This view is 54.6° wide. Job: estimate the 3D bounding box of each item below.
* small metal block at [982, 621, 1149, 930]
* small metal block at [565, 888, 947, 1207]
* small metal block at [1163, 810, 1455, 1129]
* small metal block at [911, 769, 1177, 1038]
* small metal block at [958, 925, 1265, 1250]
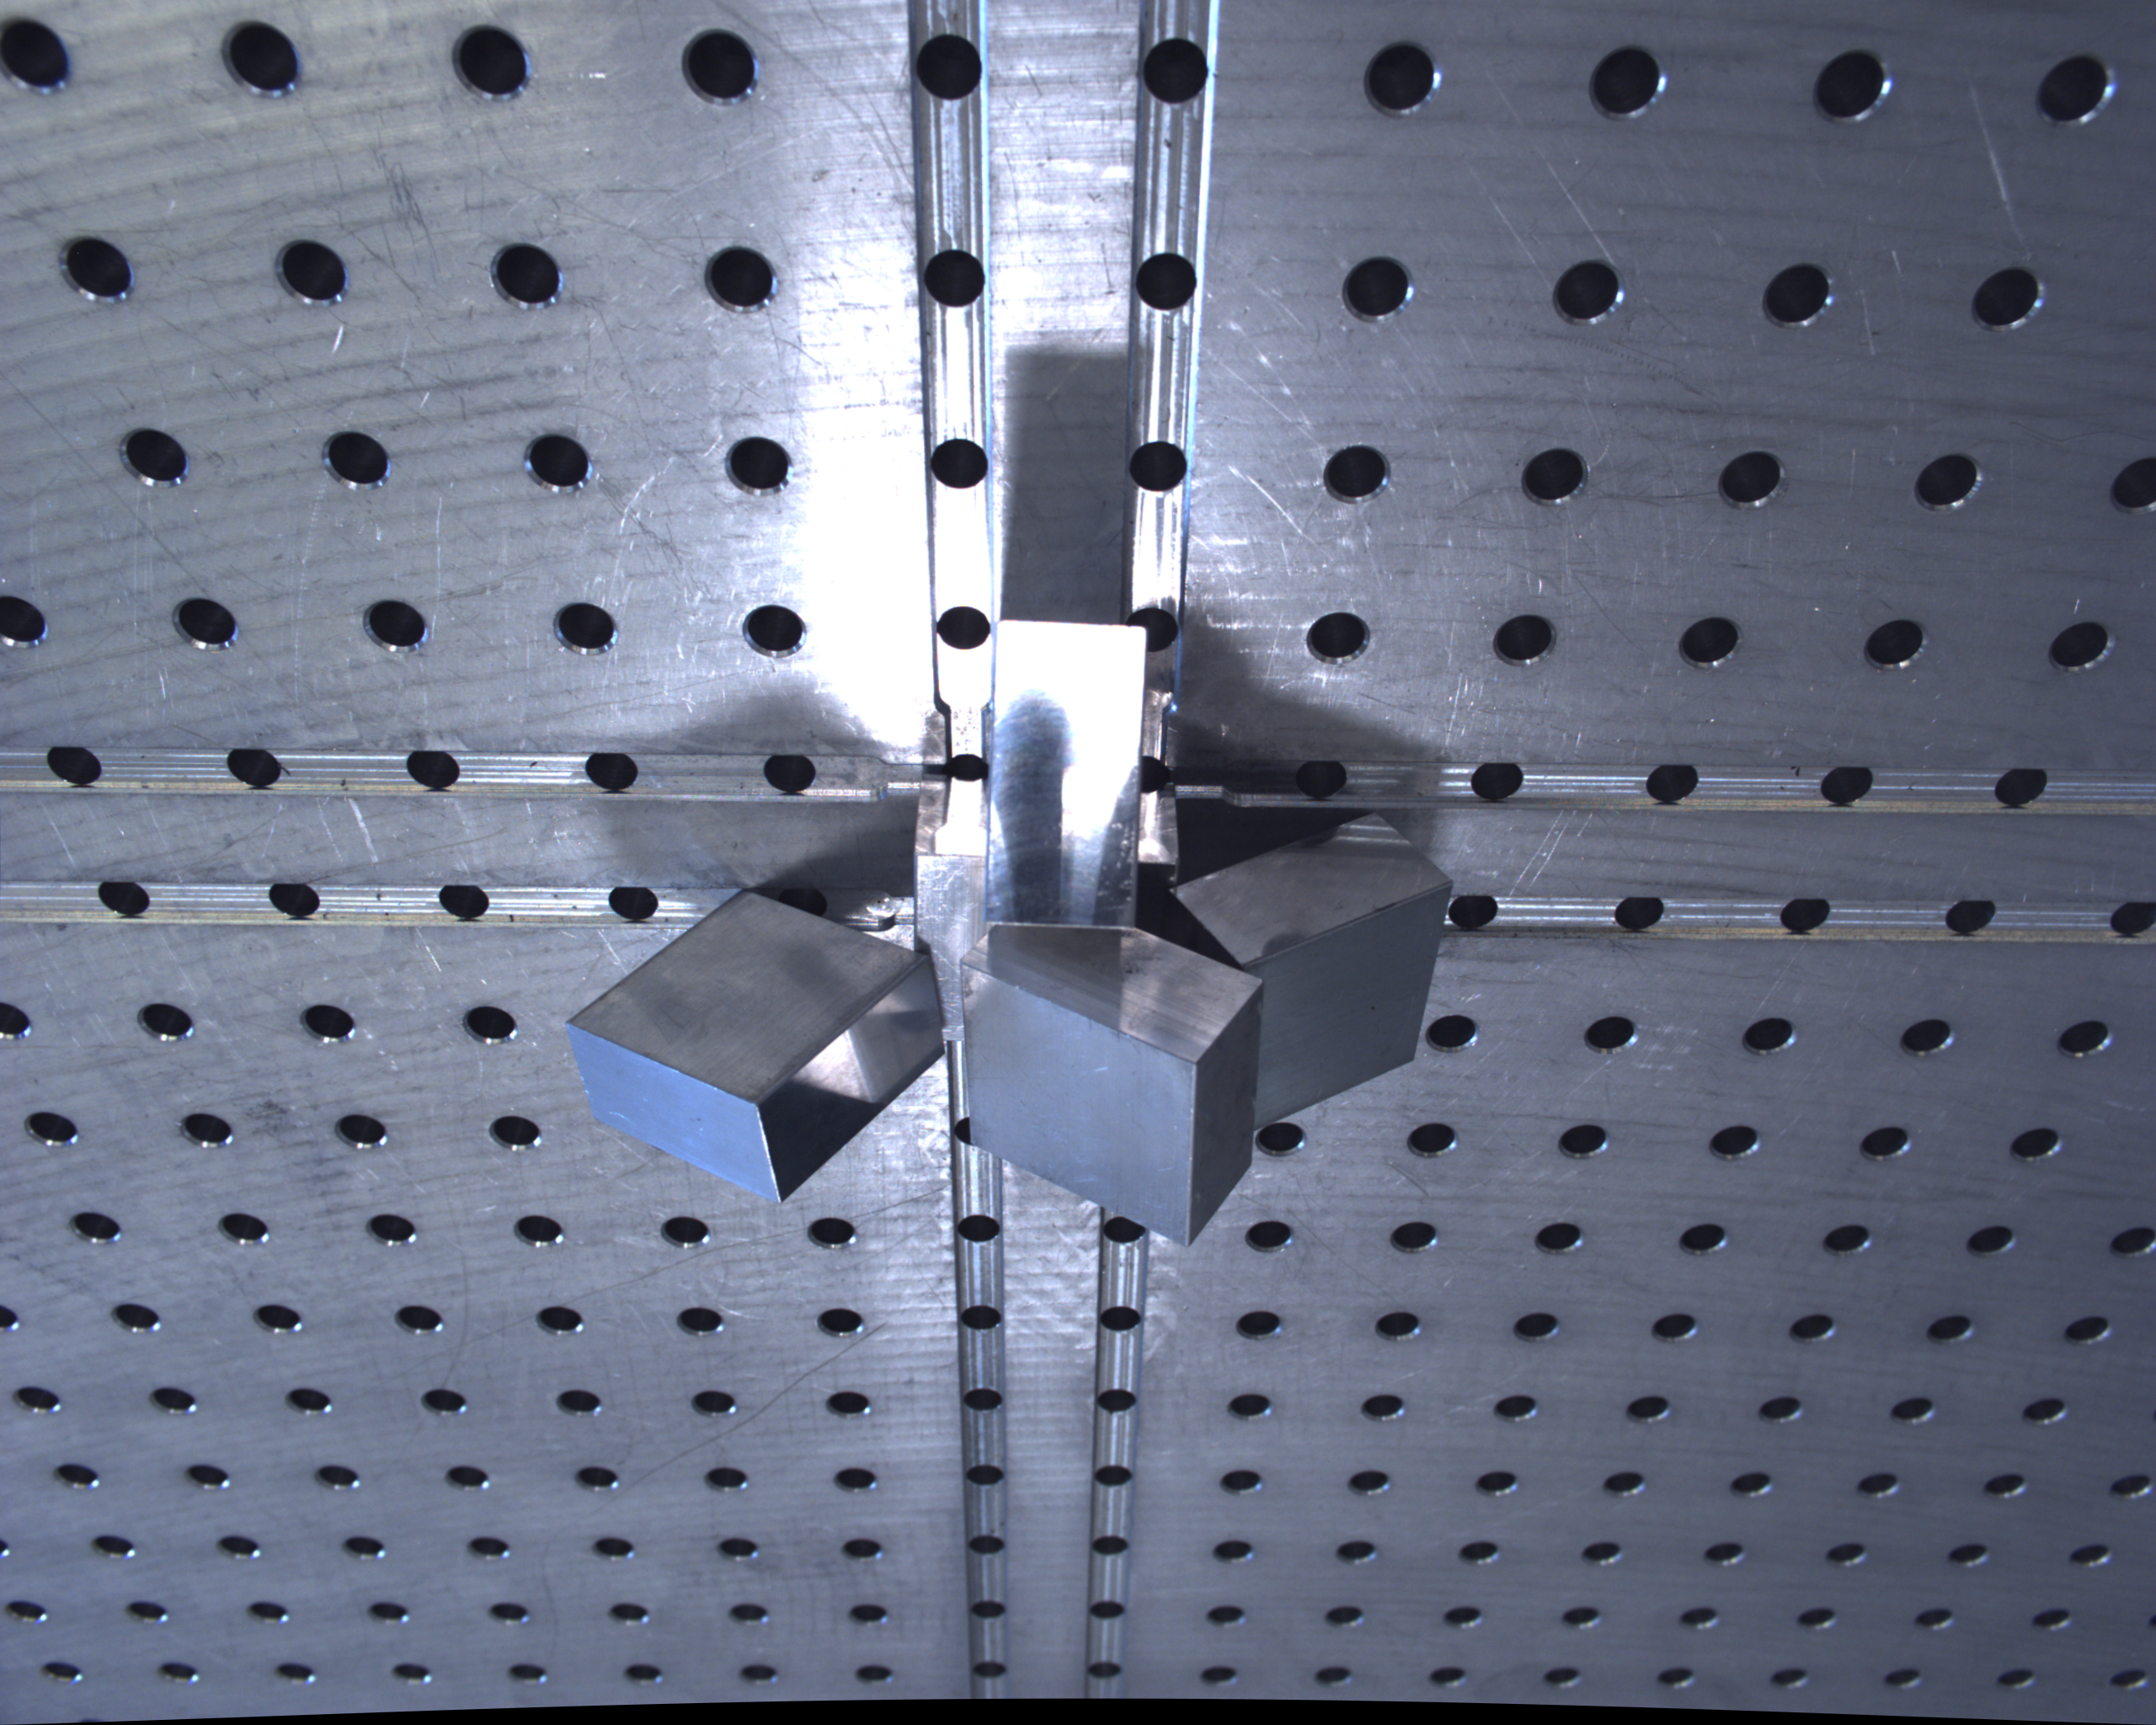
[{"bbox_3d":[-0.003,-0.016,0.368,0.025,0.050,0.050,3,94,-1],"label":"small metal block"},{"bbox_3d":[-0.062,0.035,0.411,0.050,0.050,0.025,18,131,31],"label":"small metal block"},{"bbox_3d":[0.044,0.023,0.417,0.050,0.025,0.050,-19,135,-25],"label":"small metal block"},{"bbox_3d":[-0.007,0.009,0.420,0.050,0.025,0.050,2,130,-2],"label":"small metal block"},{"bbox_3d":[0.006,0.039,0.396,0.050,0.025,0.050,22,135,25],"label":"small metal block"}]
